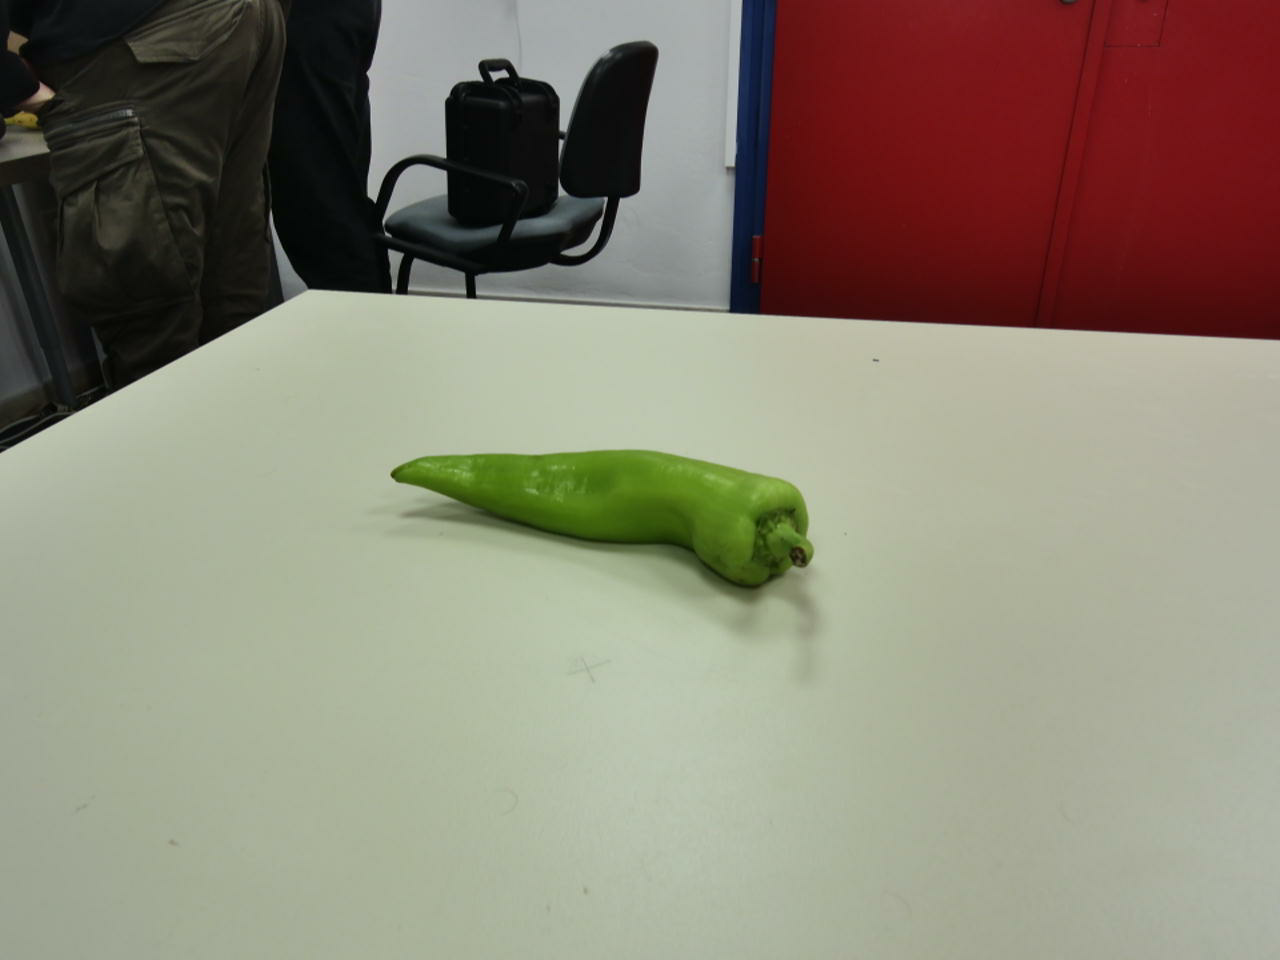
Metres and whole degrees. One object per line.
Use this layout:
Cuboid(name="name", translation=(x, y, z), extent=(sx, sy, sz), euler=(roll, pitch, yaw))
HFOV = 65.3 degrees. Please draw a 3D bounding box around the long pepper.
Cuboid(name="long pepper", translation=(-0.013, 0.007, 0.441), extent=(0.205, 0.045, 0.065), euler=(13, 27, 27))
